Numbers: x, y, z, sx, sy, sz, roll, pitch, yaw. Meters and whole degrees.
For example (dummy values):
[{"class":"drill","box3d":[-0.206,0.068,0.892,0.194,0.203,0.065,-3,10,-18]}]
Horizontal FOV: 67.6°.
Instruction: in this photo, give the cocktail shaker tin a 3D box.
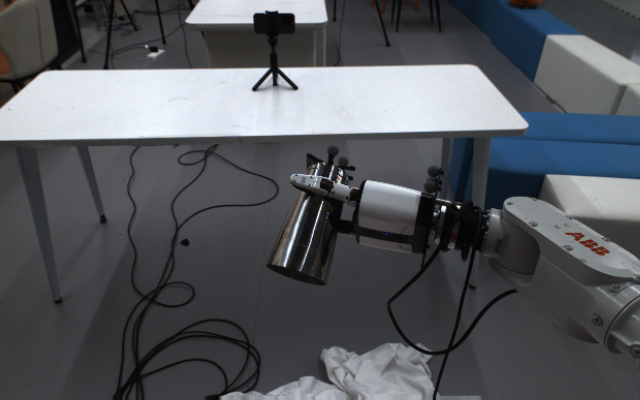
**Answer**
[{"class":"cocktail shaker tin","box3d":[-0.010,0.031,0.732,0.093,0.093,0.170,13,72,15]}]
